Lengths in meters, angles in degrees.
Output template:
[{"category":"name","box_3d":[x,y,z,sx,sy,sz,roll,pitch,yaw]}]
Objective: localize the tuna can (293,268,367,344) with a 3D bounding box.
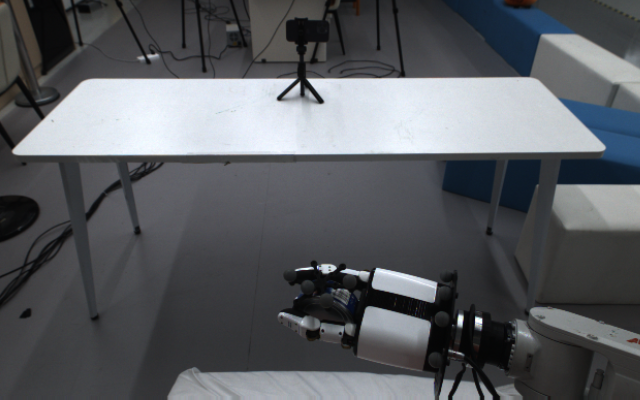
[{"category":"tuna can","box_3d":[0.012,0.150,0.637,0.085,0.085,0.034,12,39,13]}]
